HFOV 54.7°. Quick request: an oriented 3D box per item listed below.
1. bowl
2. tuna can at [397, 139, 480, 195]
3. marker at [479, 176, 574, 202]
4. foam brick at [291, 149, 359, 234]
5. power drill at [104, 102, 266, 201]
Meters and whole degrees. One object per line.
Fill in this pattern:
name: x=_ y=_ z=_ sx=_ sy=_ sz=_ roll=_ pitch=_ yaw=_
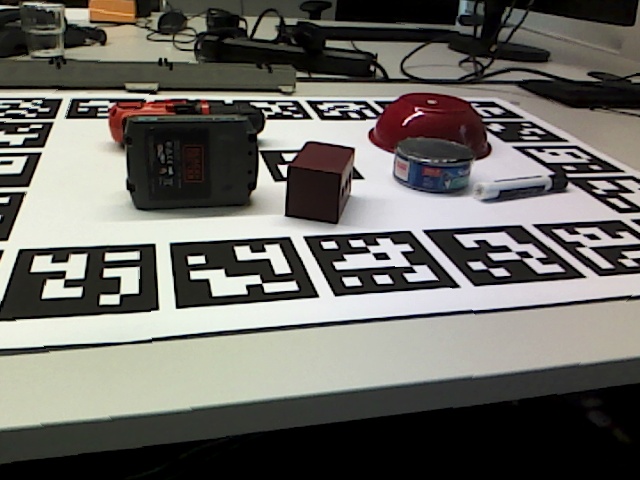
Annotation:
bowl: x=0.144 y=-0.145 z=0.804 sx=0.161 sy=0.055 sz=0.162 roll=0 pitch=22 yaw=0
tuna can: x=0.129 y=-0.082 z=0.681 sx=0.085 sy=0.033 sz=0.086 roll=6 pitch=27 yaw=-4
marker: x=0.224 y=-0.055 z=0.662 sx=0.120 sy=0.019 sz=0.020 roll=-8 pitch=32 yaw=-24
foam brick: x=0.006 y=-0.048 z=0.591 sx=0.051 sy=0.052 sz=0.078 roll=10 pitch=29 yaw=5
power drill: x=-0.133 y=-0.100 z=0.655 sx=0.184 sy=0.057 sz=0.188 roll=0 pitch=26 yaw=-18
